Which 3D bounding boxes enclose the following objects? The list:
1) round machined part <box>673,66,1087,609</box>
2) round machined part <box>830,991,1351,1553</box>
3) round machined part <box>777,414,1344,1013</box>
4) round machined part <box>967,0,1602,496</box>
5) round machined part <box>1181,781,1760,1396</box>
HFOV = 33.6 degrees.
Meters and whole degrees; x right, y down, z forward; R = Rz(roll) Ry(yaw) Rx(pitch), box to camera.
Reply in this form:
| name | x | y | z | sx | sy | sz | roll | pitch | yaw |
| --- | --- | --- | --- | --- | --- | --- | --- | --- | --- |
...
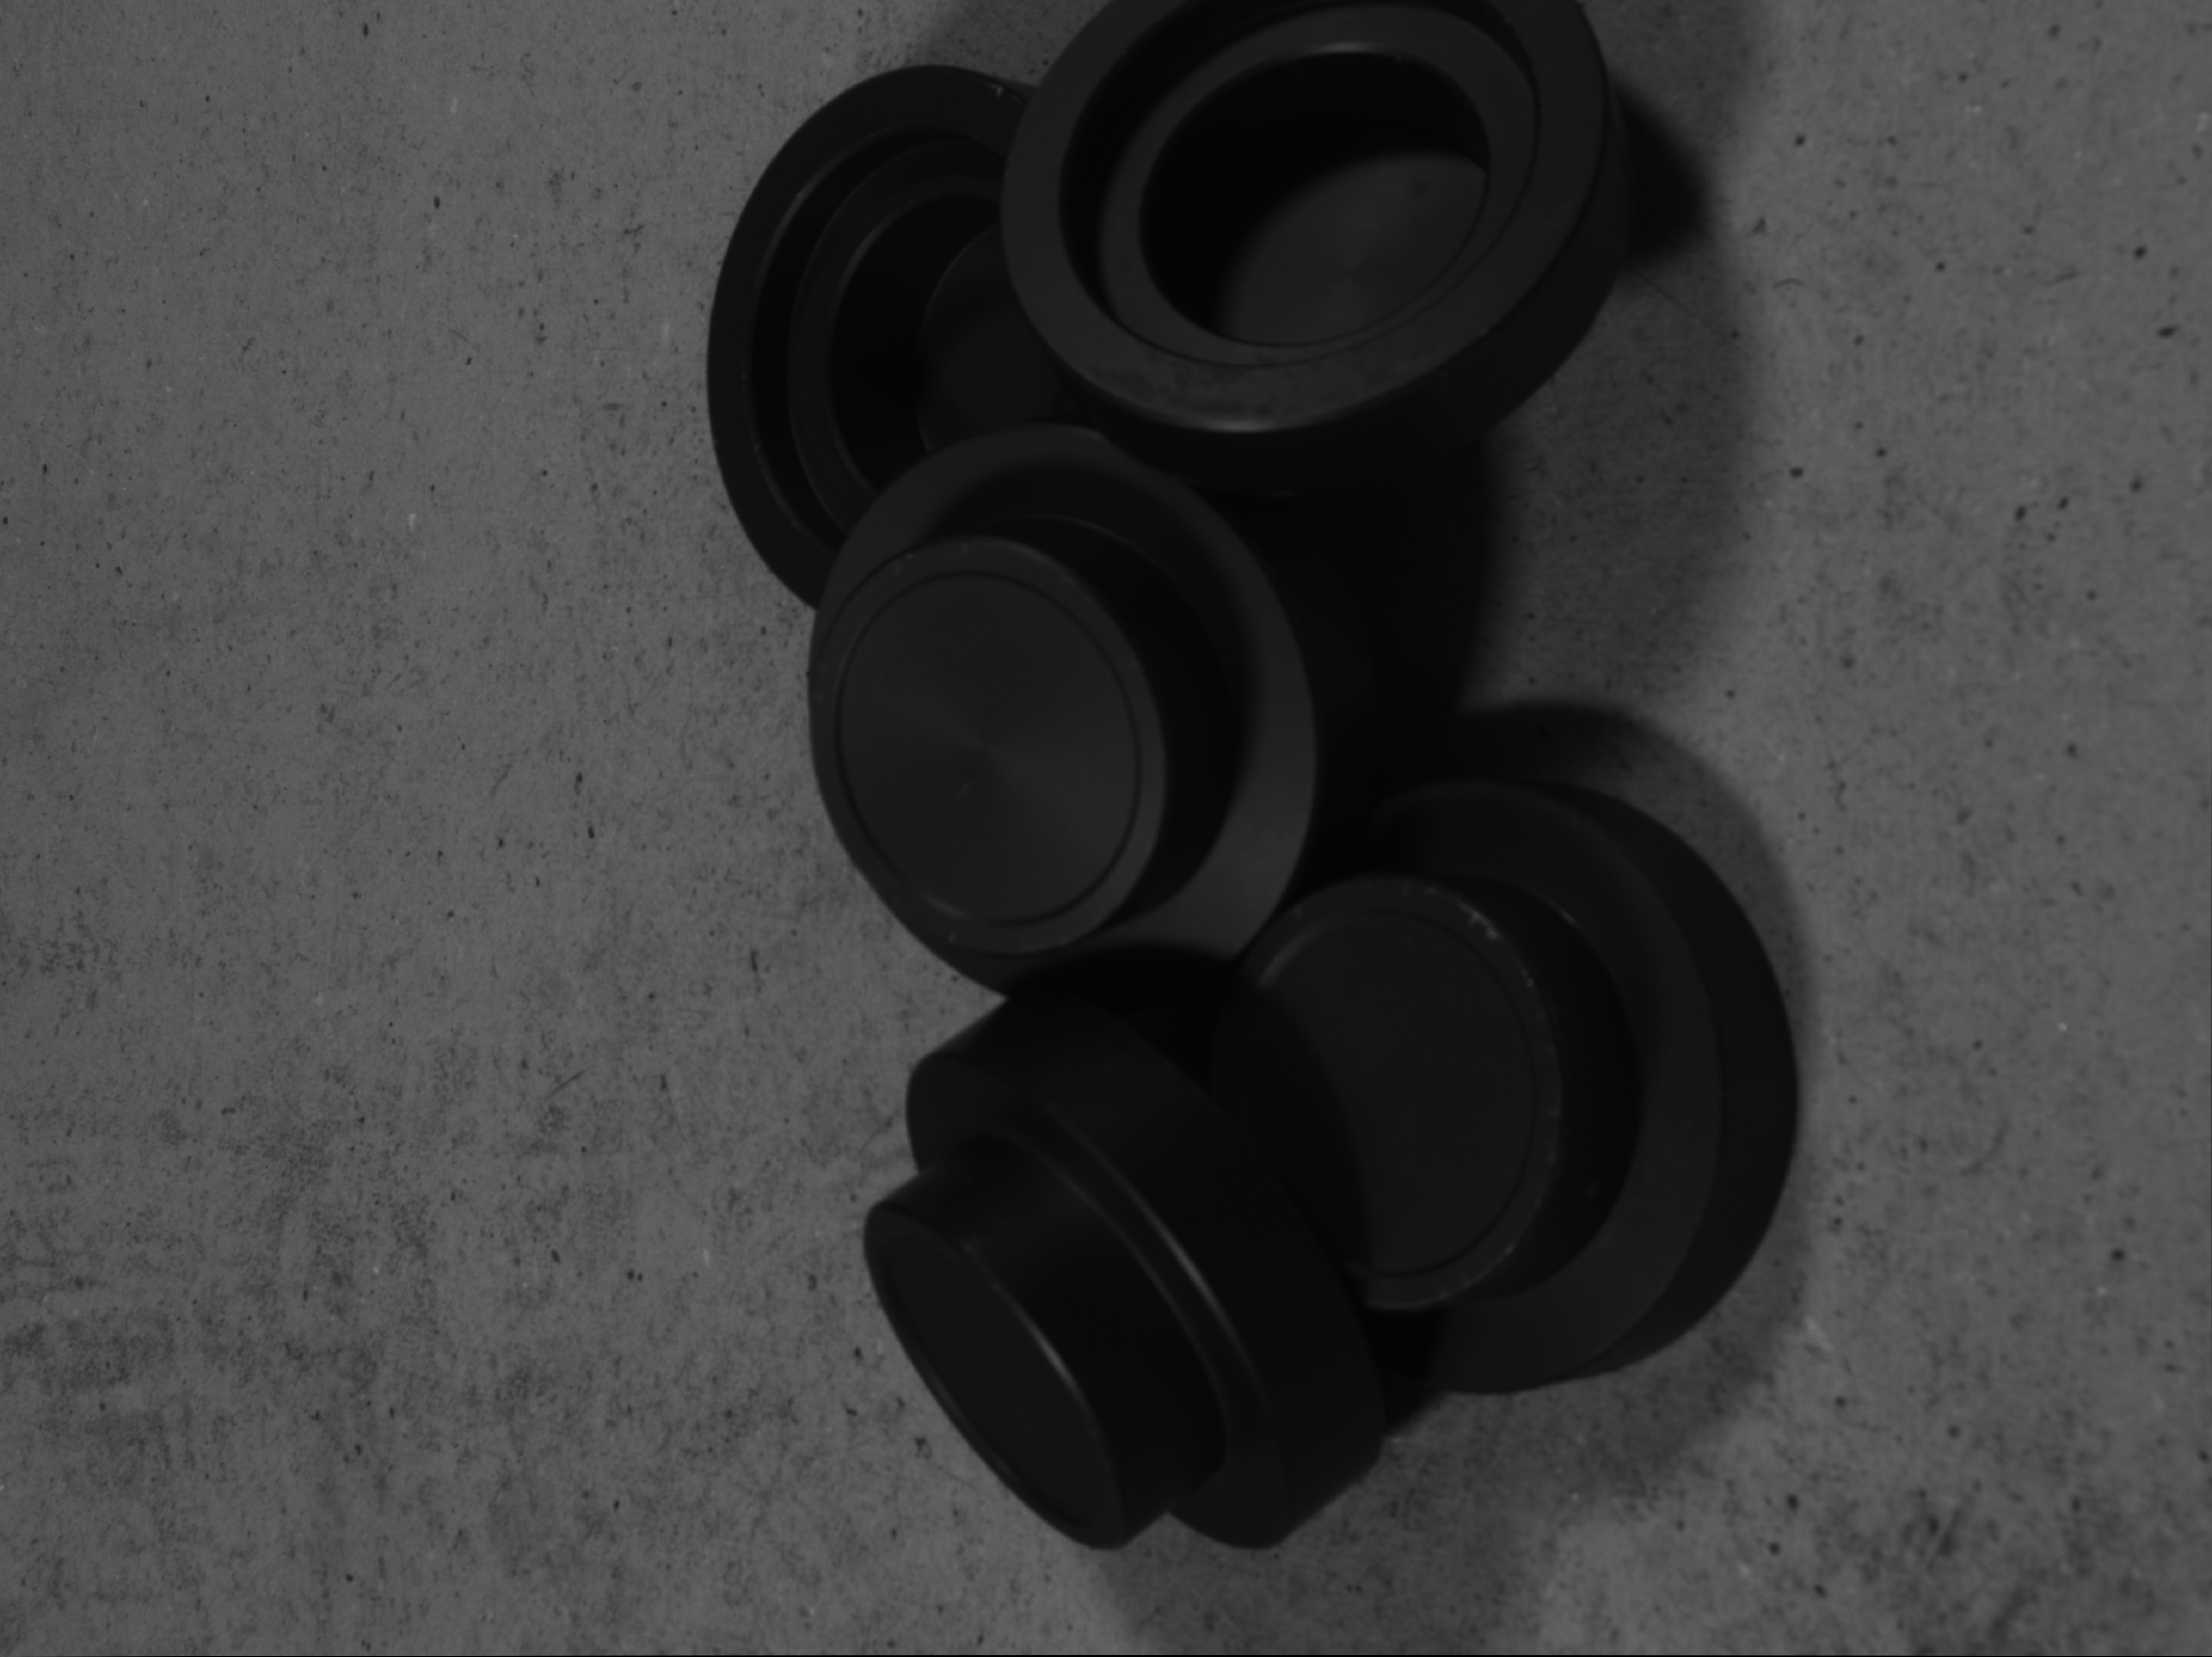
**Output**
| name | x | y | z | sx | sy | sz | roll | pitch | yaw |
| --- | --- | --- | --- | --- | --- | --- | --- | --- | --- |
| round machined part | -0.028 | -0.082 | 0.649 | 0.098 | 0.042 | 0.098 | 0 | 90 | 39 |
| round machined part | -0.008 | 0.079 | 0.599 | 0.098 | 0.042 | 0.098 | 43 | 154 | 27 |
| round machined part | -0.014 | -0.017 | 0.594 | 0.098 | 0.042 | 0.098 | 7 | 104 | 30 |
| round machined part | 0.031 | -0.095 | 0.583 | 0.098 | 0.042 | 0.098 | -8 | 62 | 16 |
| round machined part | 0.051 | 0.041 | 0.583 | 0.098 | 0.042 | 0.098 | 0 | 90 | 39 |
